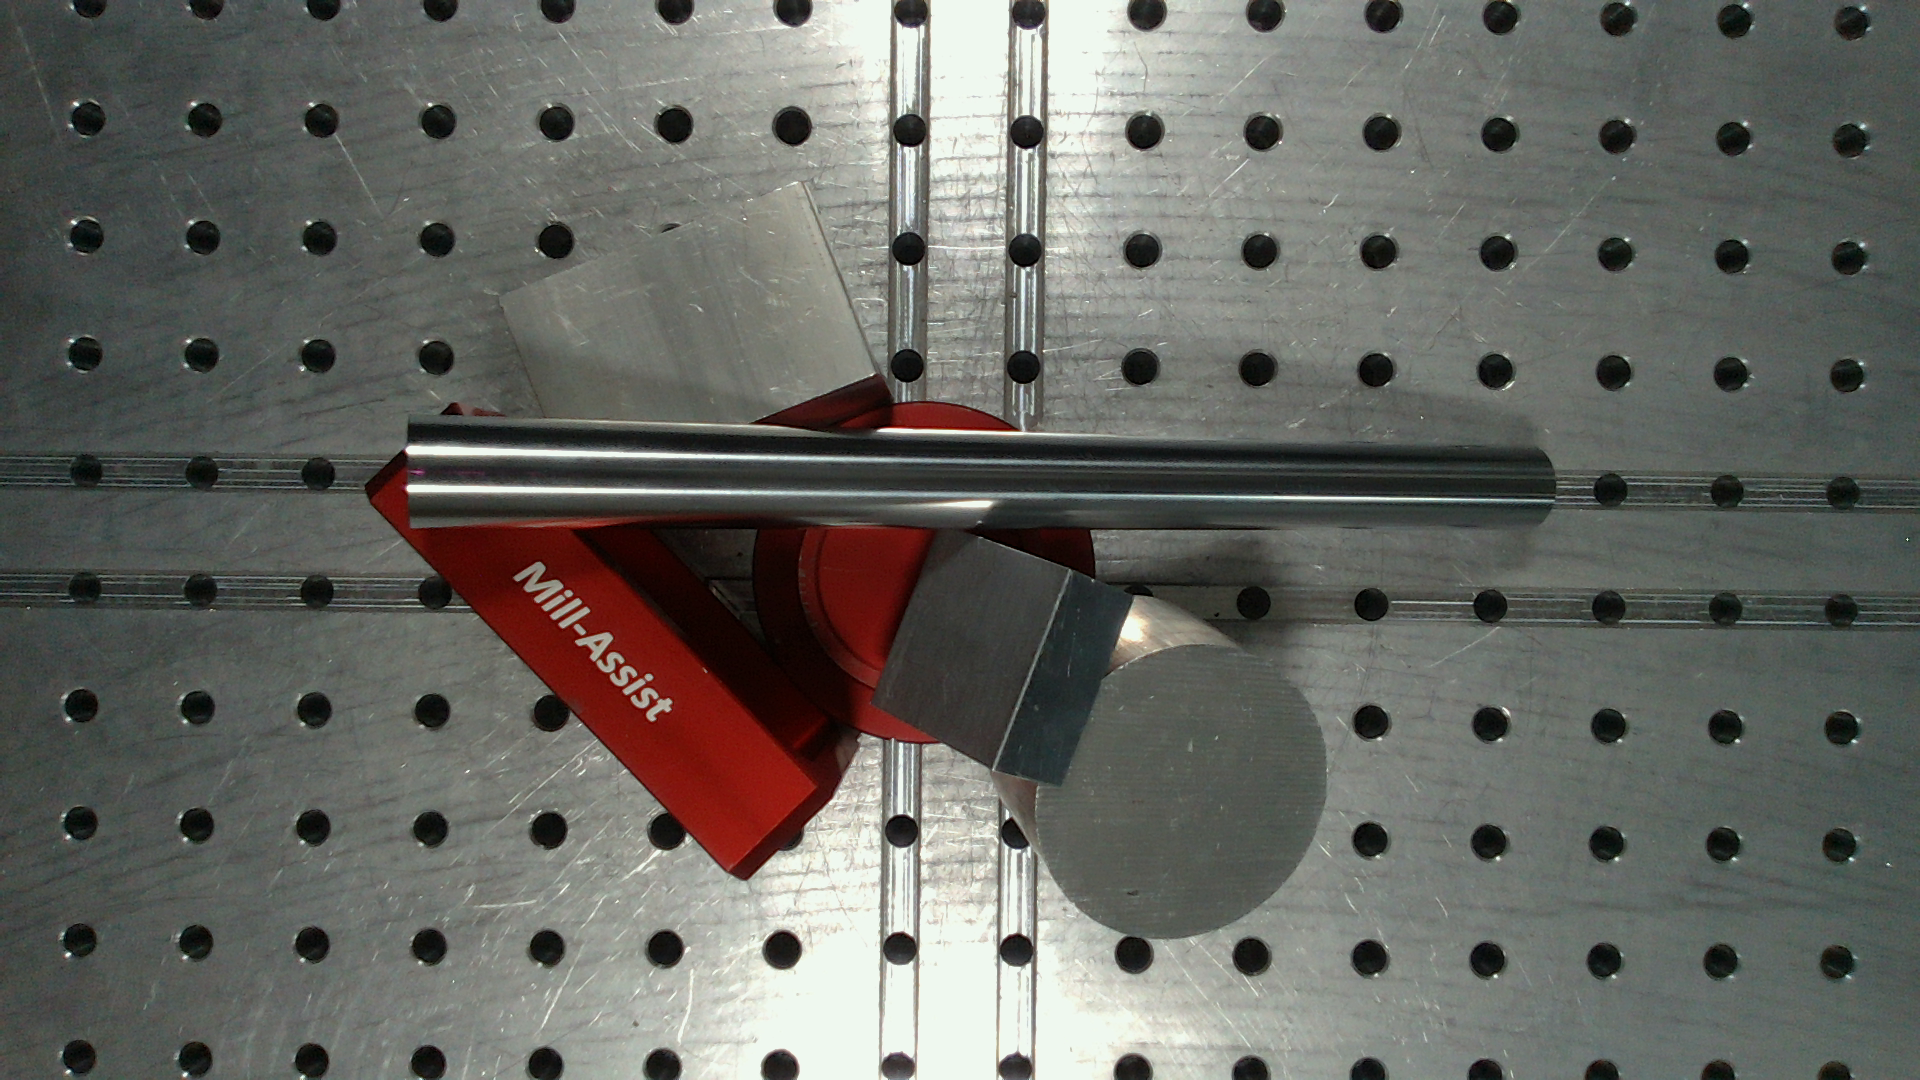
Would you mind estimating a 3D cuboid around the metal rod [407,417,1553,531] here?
[{"bbox_3d":[0.022,-0.015,0.350,0.301,0.025,0.025,0,90,-20],"label":"metal rod"}]

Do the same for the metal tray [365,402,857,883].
[{"bbox_3d":[-0.085,0.024,0.364,0.030,0.090,0.130,-43,90,0],"label":"metal tray"}]

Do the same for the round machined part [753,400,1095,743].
[{"bbox_3d":[-0.010,0.009,0.392,0.098,0.042,0.098,0,90,0],"label":"round machined part"}]

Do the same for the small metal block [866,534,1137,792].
[{"bbox_3d":[0.009,0.028,0.342,0.025,0.050,0.050,23,88,-42],"label":"small metal block"}]

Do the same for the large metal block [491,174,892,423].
[{"bbox_3d":[-0.065,-0.050,0.368,0.080,0.080,0.050,-21,90,0],"label":"large metal block"}]

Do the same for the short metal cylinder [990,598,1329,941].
[{"bbox_3d":[0.052,0.060,0.374,0.080,0.050,0.080,-3,103,-14],"label":"short metal cylinder"}]
